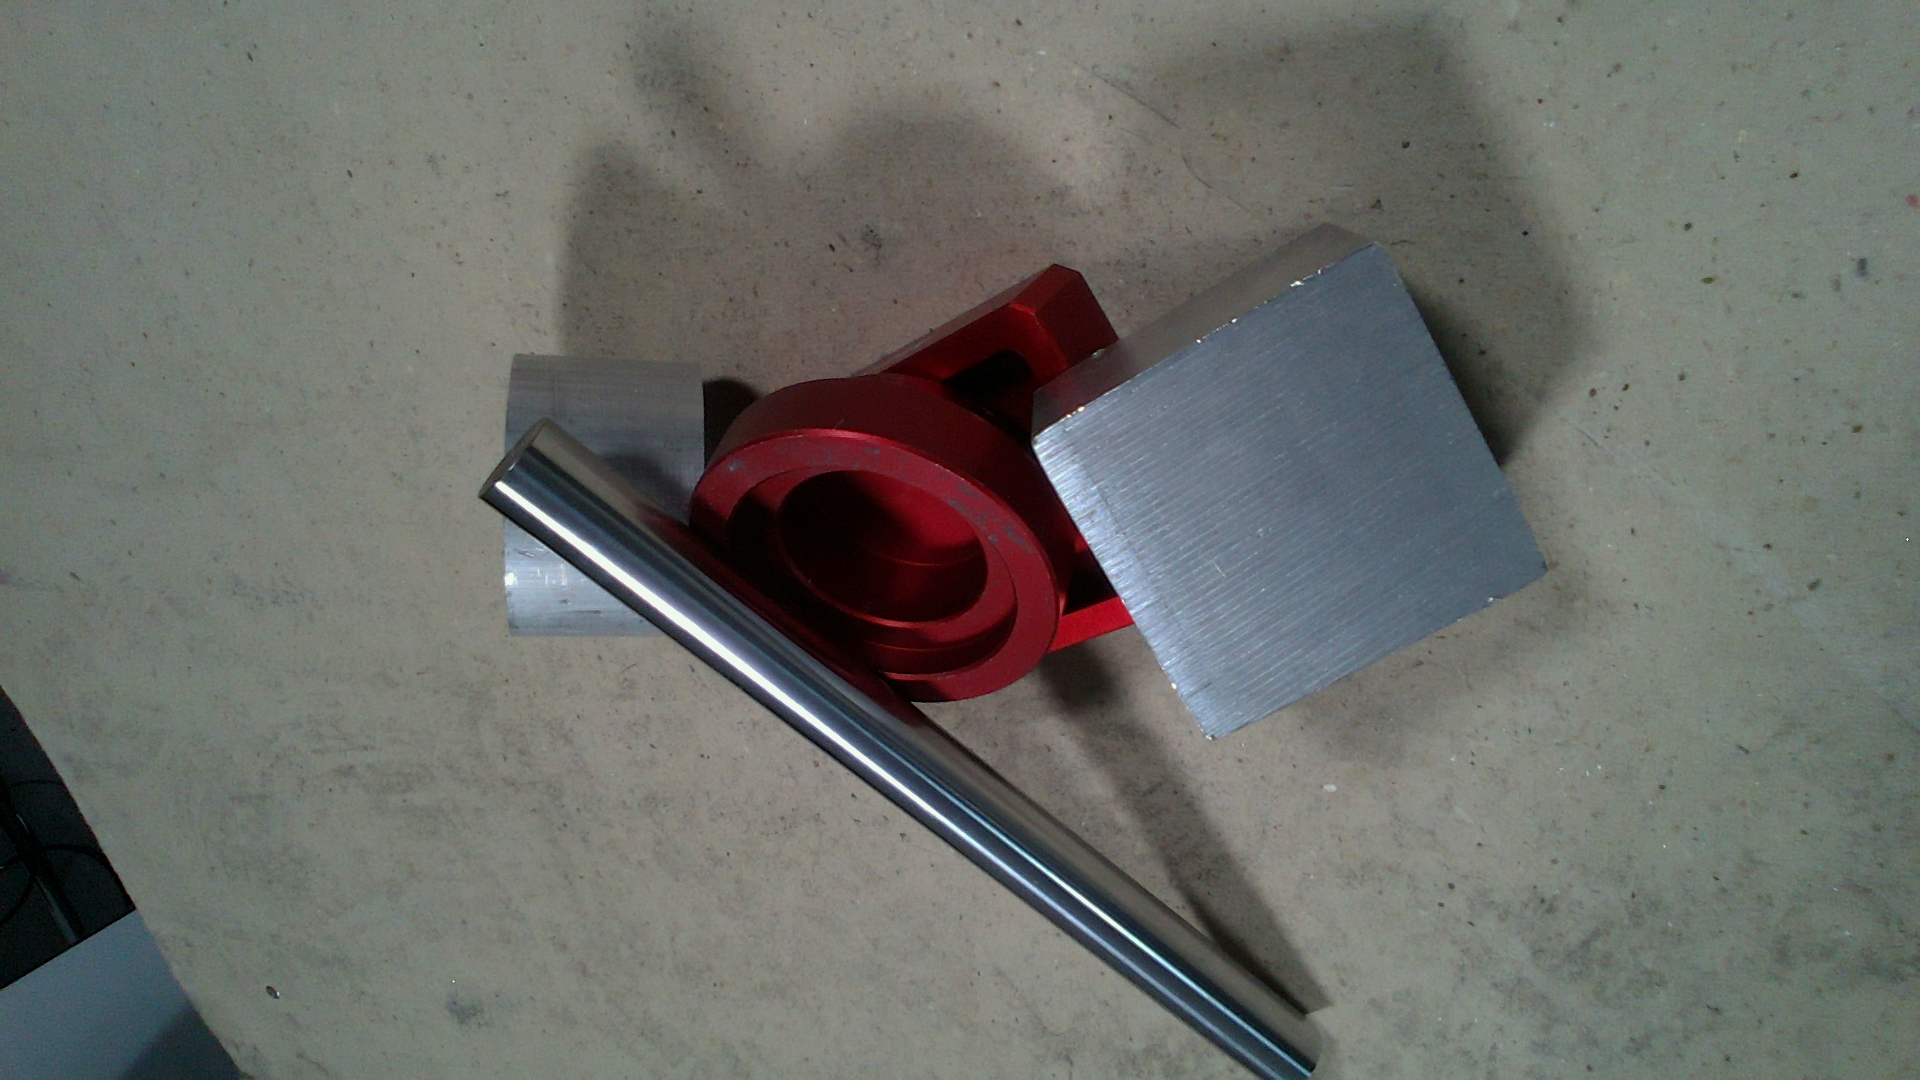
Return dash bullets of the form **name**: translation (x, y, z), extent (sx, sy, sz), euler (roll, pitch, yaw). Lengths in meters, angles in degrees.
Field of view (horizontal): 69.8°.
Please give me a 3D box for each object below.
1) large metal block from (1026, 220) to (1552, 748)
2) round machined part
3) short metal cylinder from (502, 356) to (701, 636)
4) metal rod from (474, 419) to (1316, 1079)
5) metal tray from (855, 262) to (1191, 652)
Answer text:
- **large metal block**: translation (0.070, -0.014, 0.309), extent (0.080, 0.050, 0.080), euler (-30, 104, 11)
- **round machined part**: translation (-0.018, -0.004, 0.358), extent (0.098, 0.042, 0.098), euler (11, 137, 11)
- **short metal cylinder**: translation (-0.102, -0.012, 0.396), extent (0.050, 0.080, 0.080), euler (1, 126, -13)
- **metal rod**: translation (-0.002, 0.072, 0.382), extent (0.301, 0.025, 0.025), euler (41, 132, -22)
- **metal tray**: translation (-0.003, -0.009, 0.386), extent (0.129, 0.030, 0.090), euler (-23, 106, 36)
